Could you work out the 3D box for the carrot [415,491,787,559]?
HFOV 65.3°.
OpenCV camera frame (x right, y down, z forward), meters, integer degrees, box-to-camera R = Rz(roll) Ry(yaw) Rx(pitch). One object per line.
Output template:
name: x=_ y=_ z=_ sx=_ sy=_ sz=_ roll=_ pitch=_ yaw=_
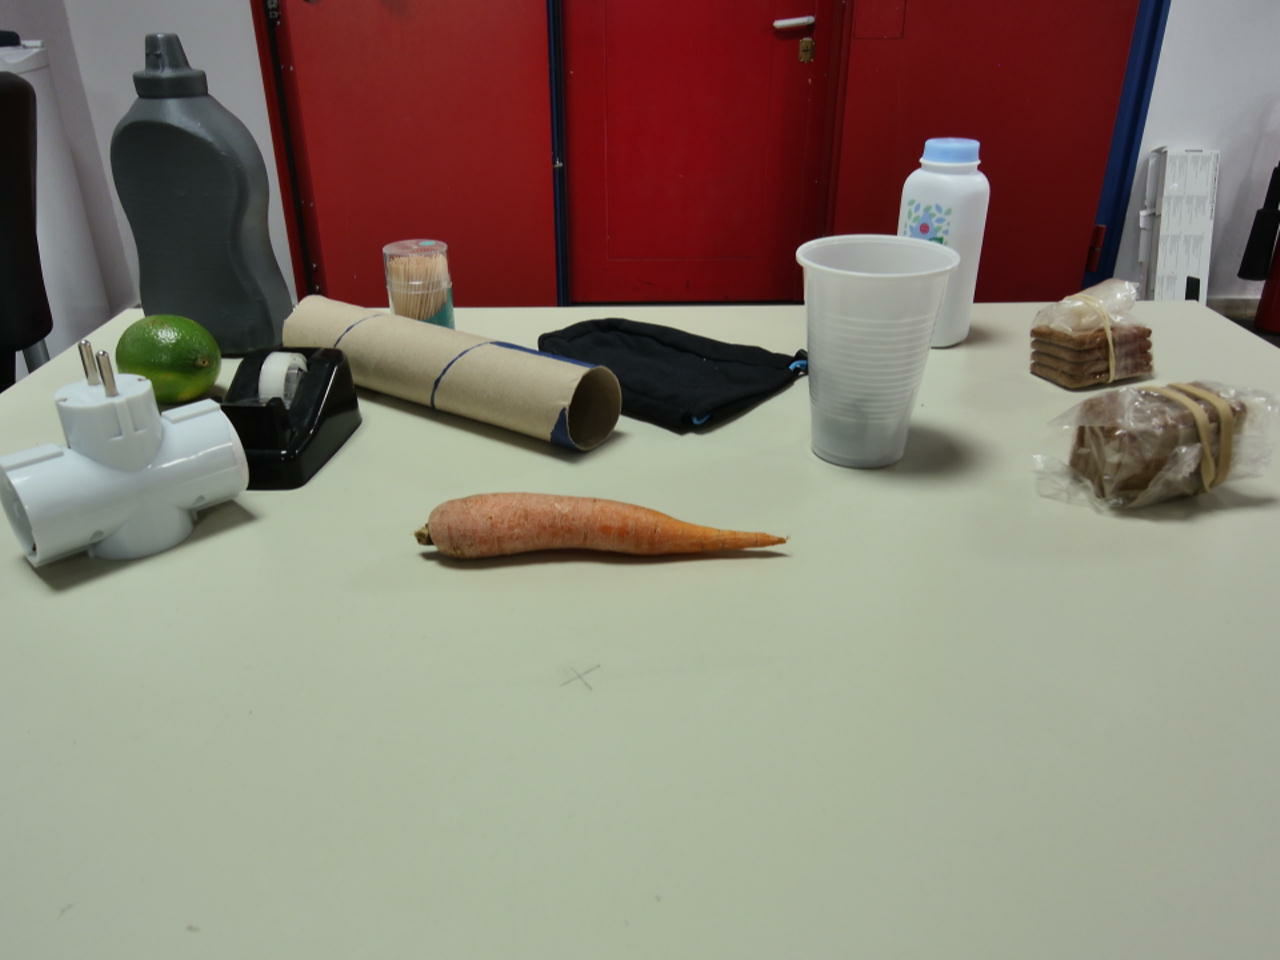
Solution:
carrot: x=-0.017 y=0.020 z=0.440 sx=0.163 sy=0.029 sz=0.031 roll=0 pitch=25 yaw=0
